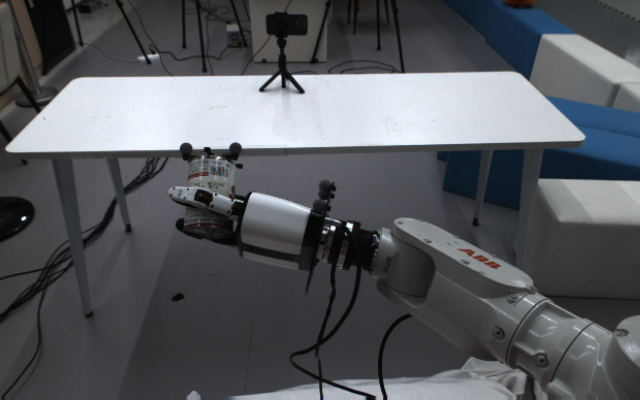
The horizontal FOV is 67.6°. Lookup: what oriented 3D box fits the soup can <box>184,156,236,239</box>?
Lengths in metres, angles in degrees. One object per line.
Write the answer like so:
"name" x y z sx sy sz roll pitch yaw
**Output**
"soup can" -0.151 -0.002 0.668 0.067 0.067 0.101 1 73 -2
